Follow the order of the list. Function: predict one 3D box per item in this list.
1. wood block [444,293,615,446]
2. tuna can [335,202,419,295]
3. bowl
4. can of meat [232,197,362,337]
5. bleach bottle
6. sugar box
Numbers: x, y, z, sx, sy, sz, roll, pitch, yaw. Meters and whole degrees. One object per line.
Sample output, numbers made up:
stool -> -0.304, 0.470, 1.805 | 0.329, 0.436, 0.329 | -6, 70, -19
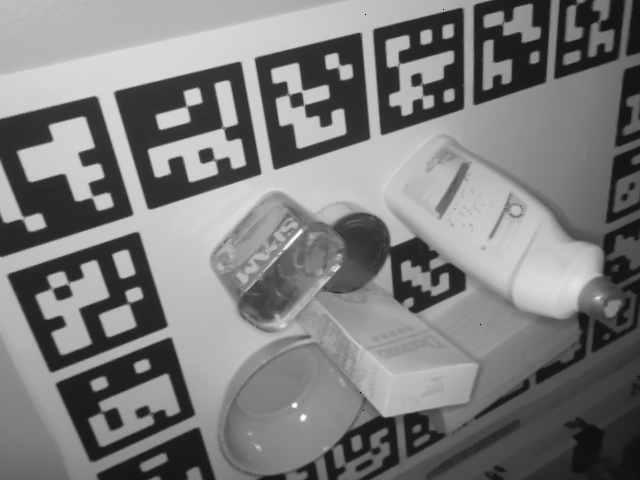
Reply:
wood block -> 0.225, 0.129, 0.797 | 0.208, 0.089, 0.090 | -28, 119, -14
tuna can -> 0.051, 0.008, 0.668 | 0.087, 0.033, 0.085 | -11, 114, -25
bowl -> -0.019, 0.167, 0.695 | 0.164, 0.055, 0.160 | -15, 119, -27
can of meat -> -0.021, 0.020, 0.611 | 0.102, 0.083, 0.058 | -44, 129, -2
bleach bottle -> 0.182, -0.003, 0.608 | 0.103, 0.249, 0.068 | -41, 127, -5
sugar box -> 0.069, 0.096, 0.633 | 0.094, 0.175, 0.045 | 0, 111, -32
